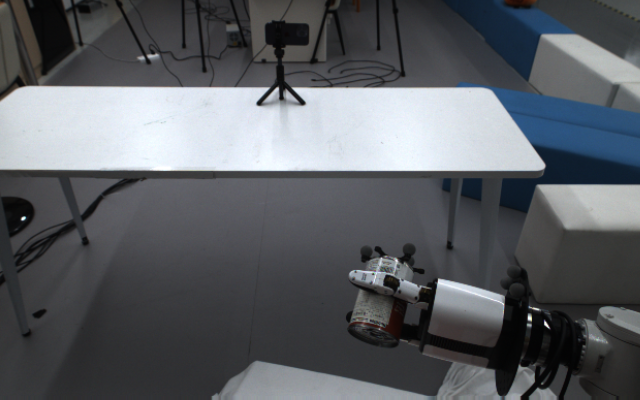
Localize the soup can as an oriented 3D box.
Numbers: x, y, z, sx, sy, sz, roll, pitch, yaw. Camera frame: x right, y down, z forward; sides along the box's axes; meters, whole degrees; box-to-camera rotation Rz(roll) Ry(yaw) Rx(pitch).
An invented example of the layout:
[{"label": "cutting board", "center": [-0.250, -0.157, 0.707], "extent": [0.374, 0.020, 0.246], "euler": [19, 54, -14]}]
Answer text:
[{"label": "soup can", "center": [0.083, 0.131, 0.639], "extent": [0.067, 0.067, 0.101], "euler": [12, 59, 14]}]
